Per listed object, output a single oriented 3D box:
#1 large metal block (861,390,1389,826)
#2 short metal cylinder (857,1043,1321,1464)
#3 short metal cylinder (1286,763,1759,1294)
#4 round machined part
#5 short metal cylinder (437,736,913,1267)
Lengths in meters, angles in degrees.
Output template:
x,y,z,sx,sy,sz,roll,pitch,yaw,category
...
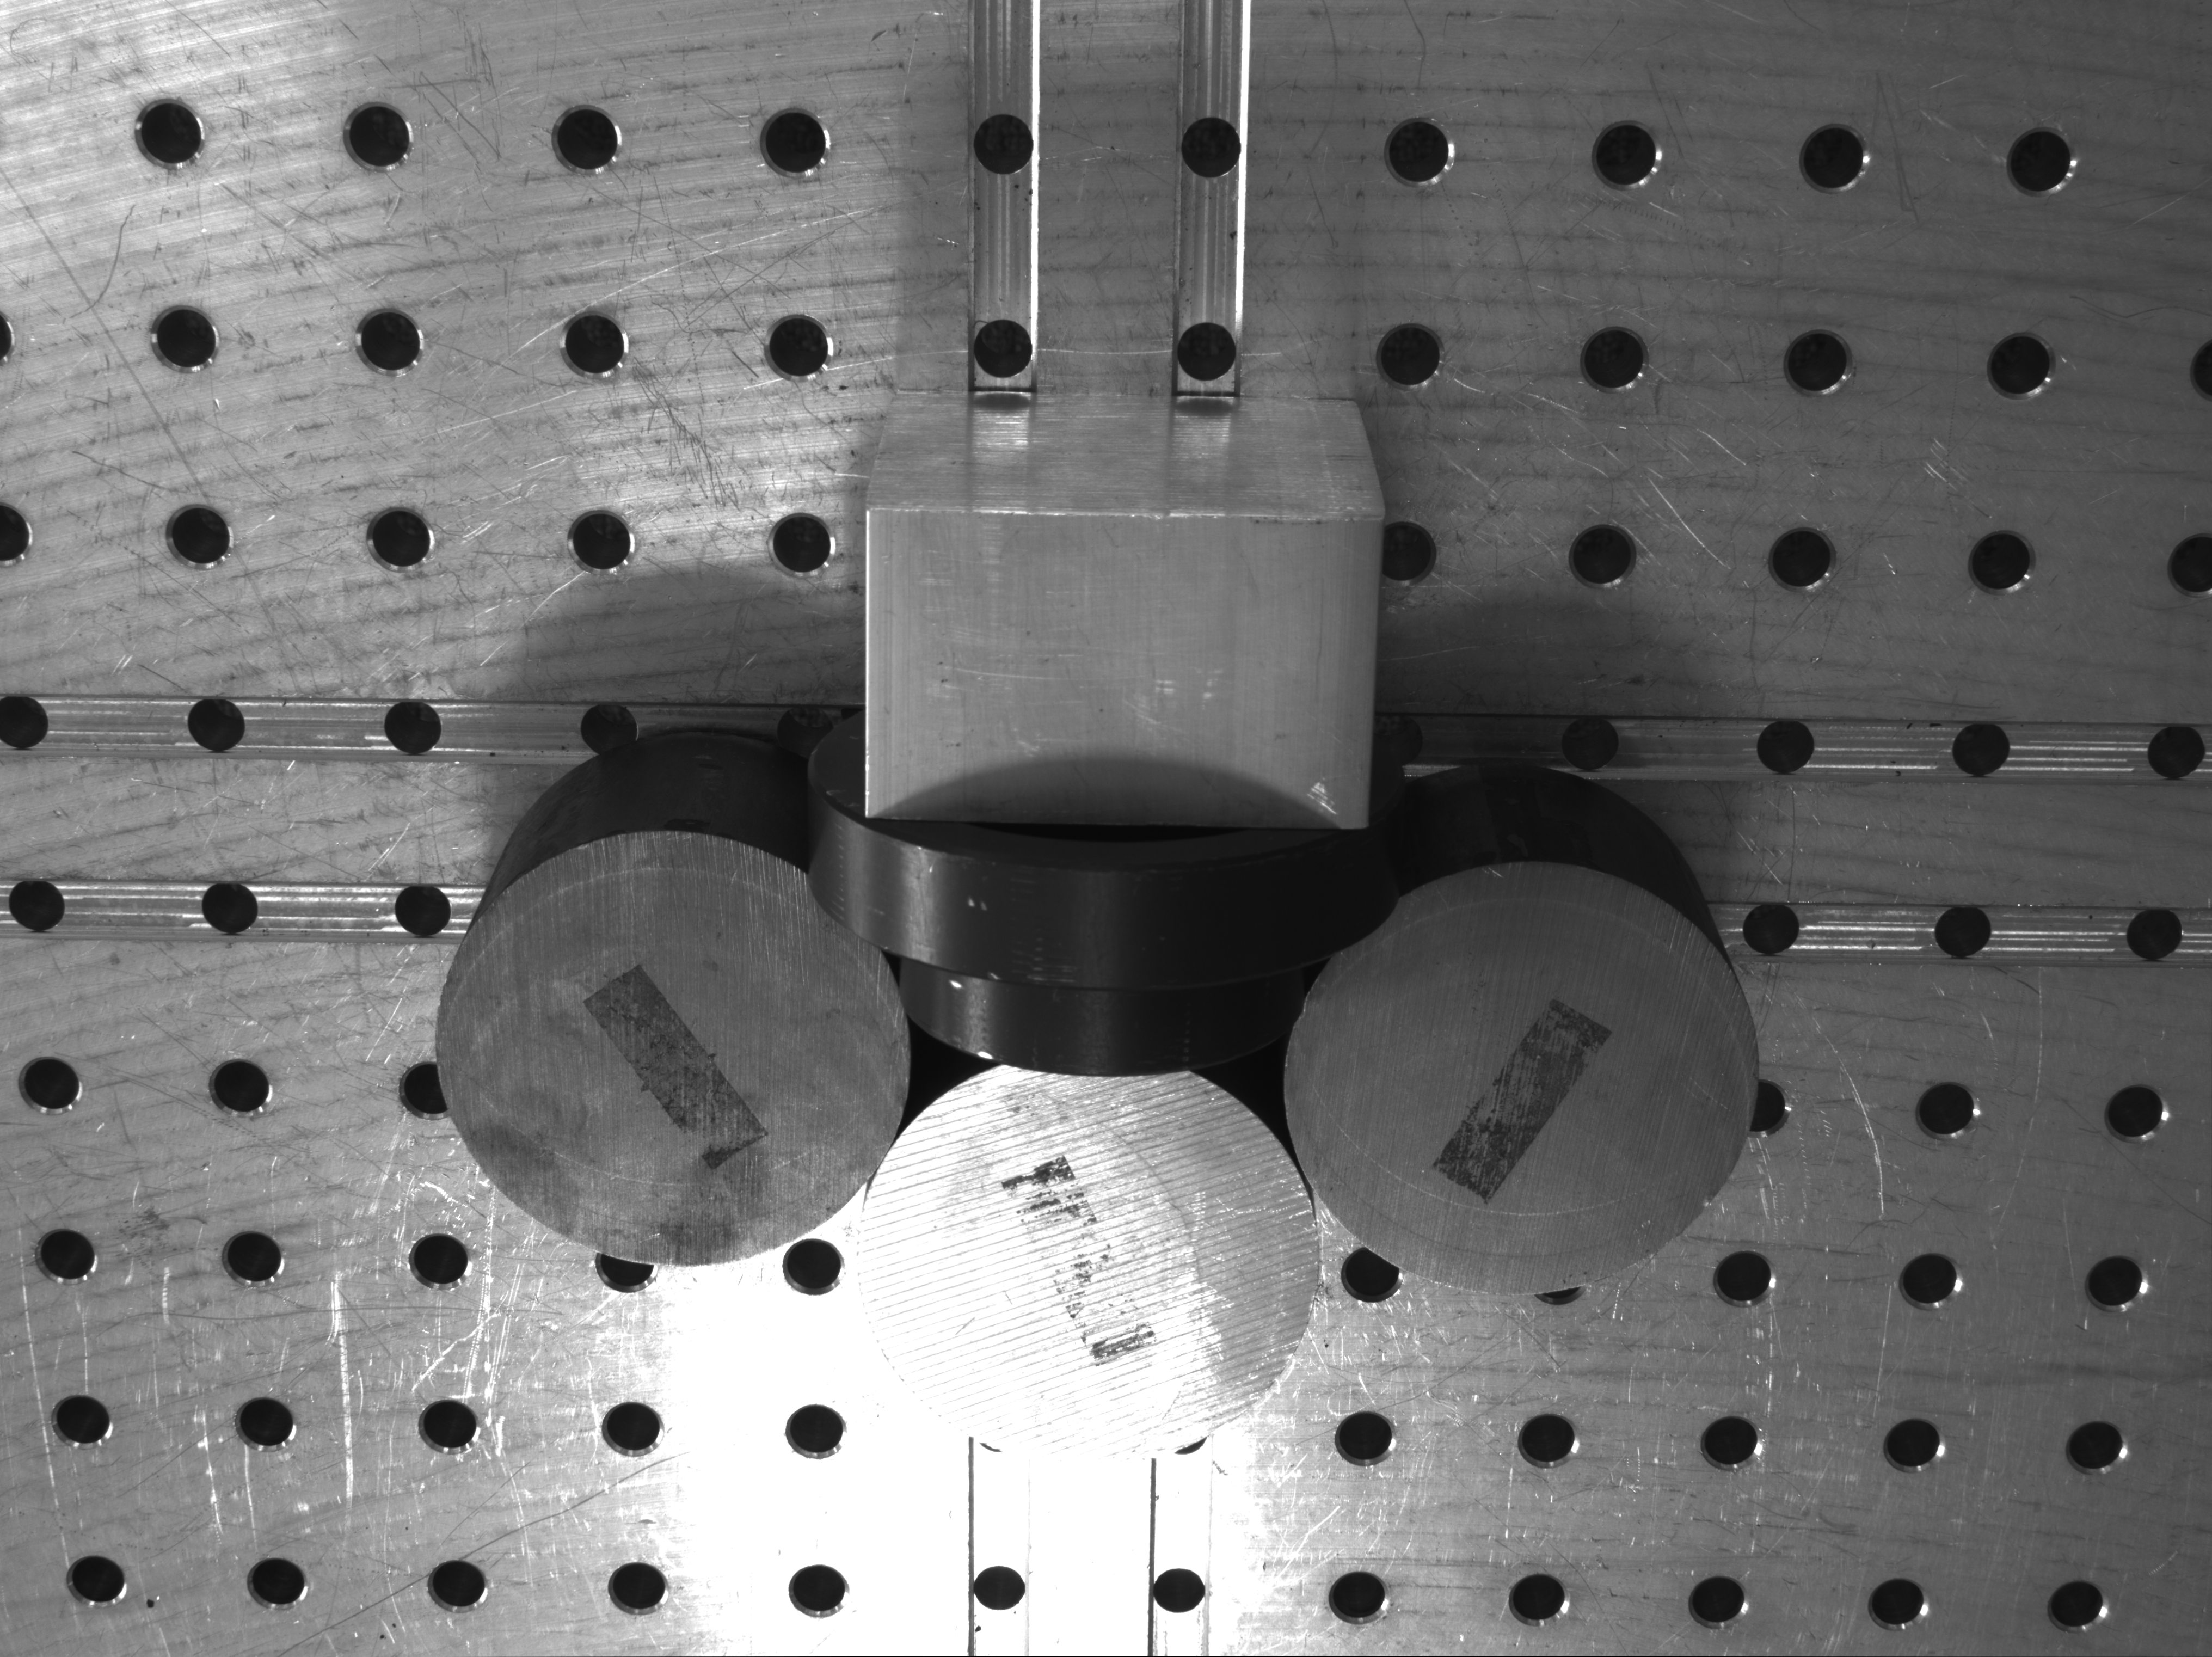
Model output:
x,y,z,sx,sy,sz,roll,pitch,yaw,category
0.003,-0.038,0.603,0.080,0.080,0.050,1,110,0,large metal block
-0.003,0.066,0.658,0.080,0.050,0.080,0,110,0,short metal cylinder
0.071,0.034,0.646,0.080,0.050,0.080,0,110,0,short metal cylinder
0.000,0.010,0.610,0.098,0.098,0.042,2,109,-1,round machined part
-0.073,0.030,0.644,0.080,0.050,0.080,0,110,0,short metal cylinder
